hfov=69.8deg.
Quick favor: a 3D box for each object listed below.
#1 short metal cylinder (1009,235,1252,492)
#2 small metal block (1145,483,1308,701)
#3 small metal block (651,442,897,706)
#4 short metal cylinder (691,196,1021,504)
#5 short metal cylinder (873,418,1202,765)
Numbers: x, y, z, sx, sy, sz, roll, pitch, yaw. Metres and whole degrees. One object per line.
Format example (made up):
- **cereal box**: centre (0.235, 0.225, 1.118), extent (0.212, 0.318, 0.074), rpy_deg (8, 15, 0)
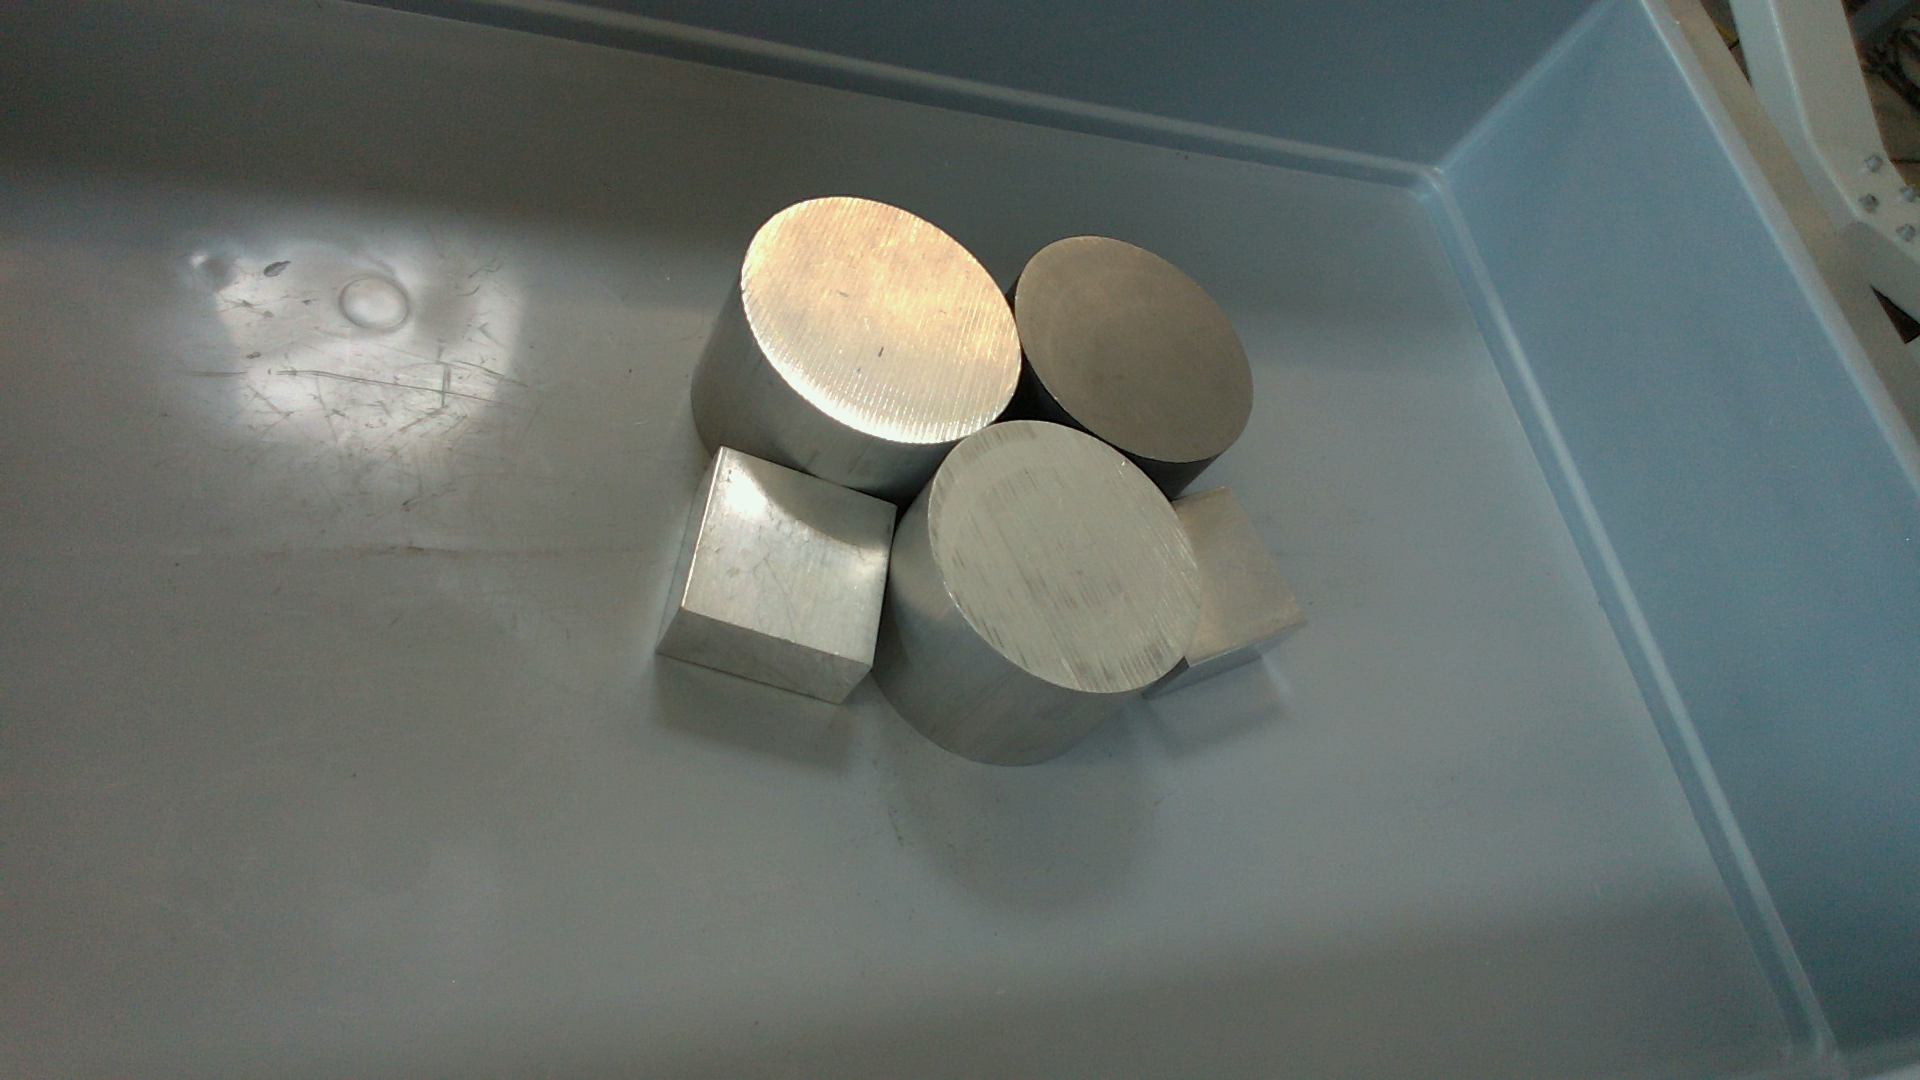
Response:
- **short metal cylinder**: centre (0.042, -0.046, 0.423), extent (0.080, 0.050, 0.080), rpy_deg (14, 56, -21)
- **small metal block**: centre (0.069, 0.015, 0.417), extent (0.050, 0.025, 0.050), rpy_deg (-15, 69, -34)
- **small metal block**: centre (-0.047, 0.009, 0.357), extent (0.050, 0.025, 0.050), rpy_deg (19, 54, -17)
- **short metal cylinder**: centre (-0.030, -0.049, 0.386), extent (0.080, 0.050, 0.080), rpy_deg (14, 56, -21)
- **short metal cylinder**: centre (0.018, 0.014, 0.373), extent (0.080, 0.050, 0.080), rpy_deg (14, 56, -21)
